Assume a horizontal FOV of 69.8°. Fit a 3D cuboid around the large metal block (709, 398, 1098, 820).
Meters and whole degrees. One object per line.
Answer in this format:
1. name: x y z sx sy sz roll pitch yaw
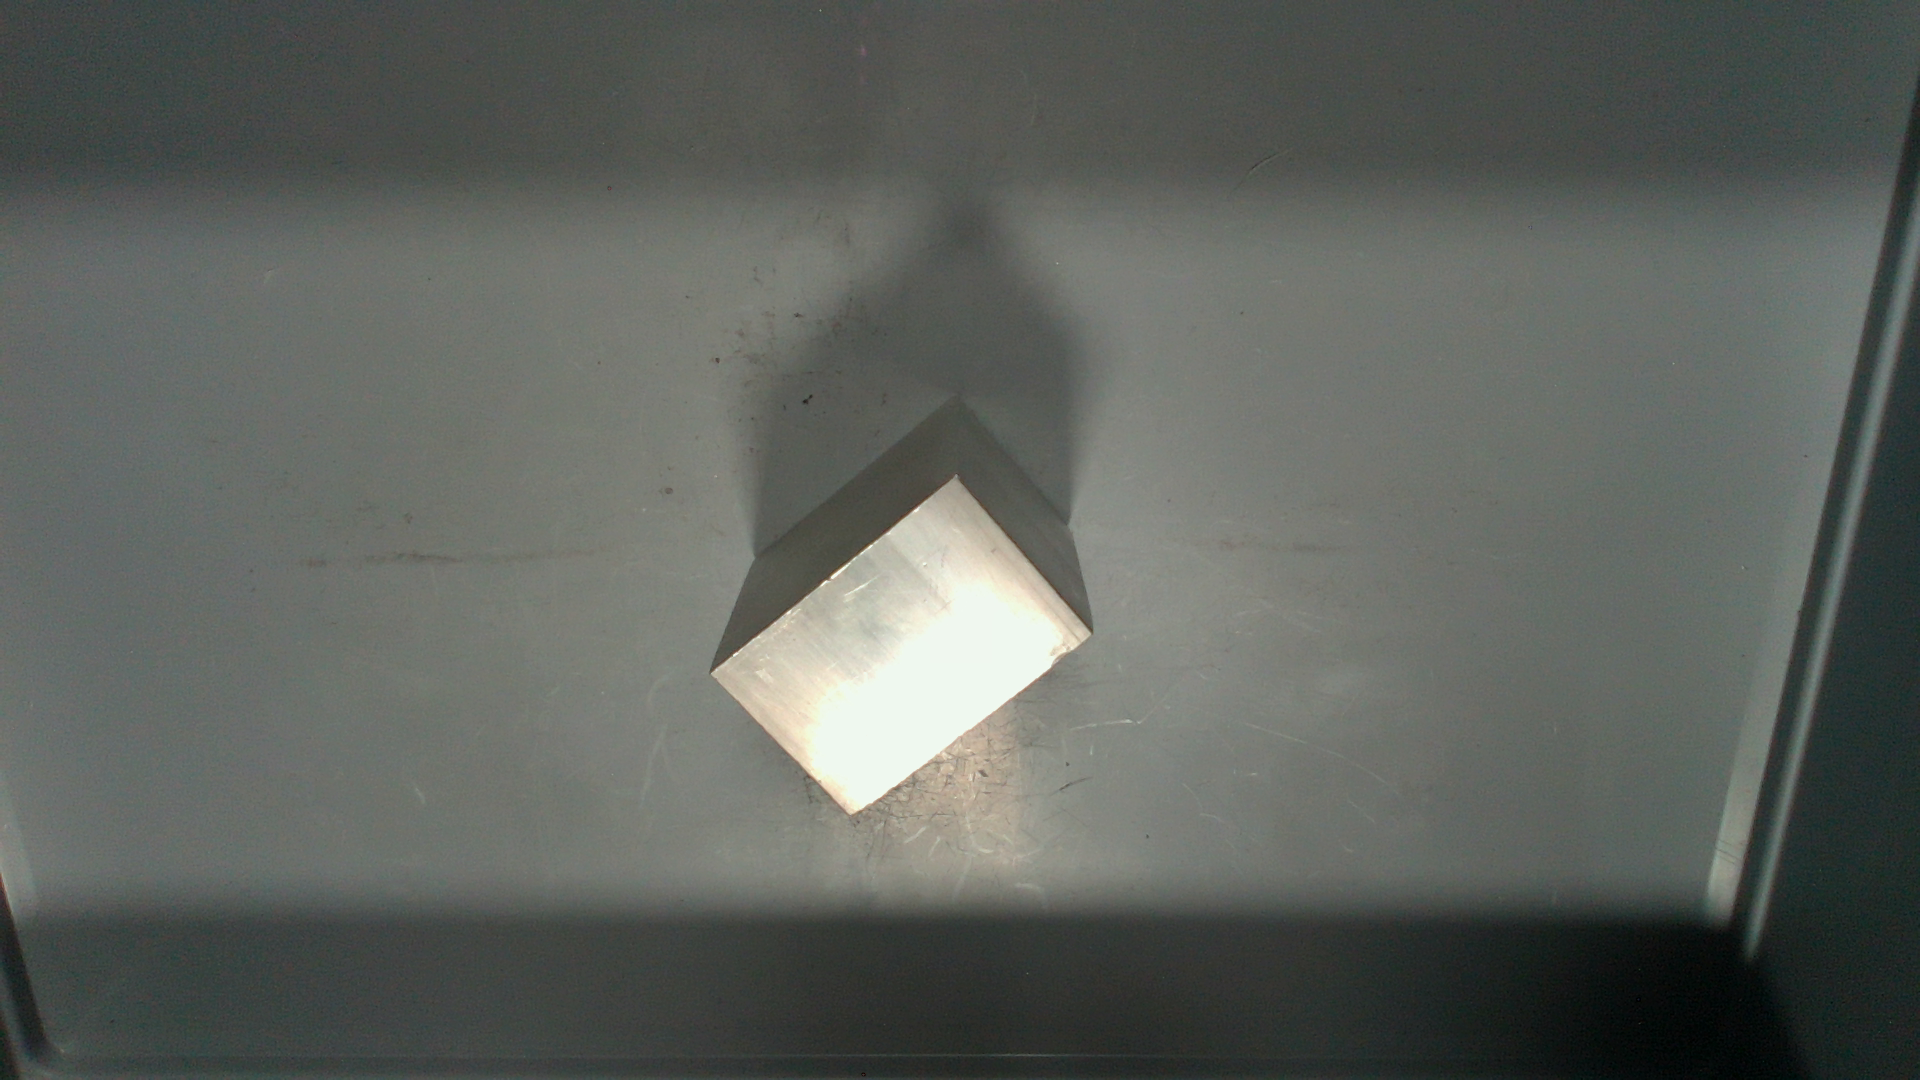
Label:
1. large metal block: -0.014 0.014 0.367 0.080 0.080 0.050 -38 106 13
